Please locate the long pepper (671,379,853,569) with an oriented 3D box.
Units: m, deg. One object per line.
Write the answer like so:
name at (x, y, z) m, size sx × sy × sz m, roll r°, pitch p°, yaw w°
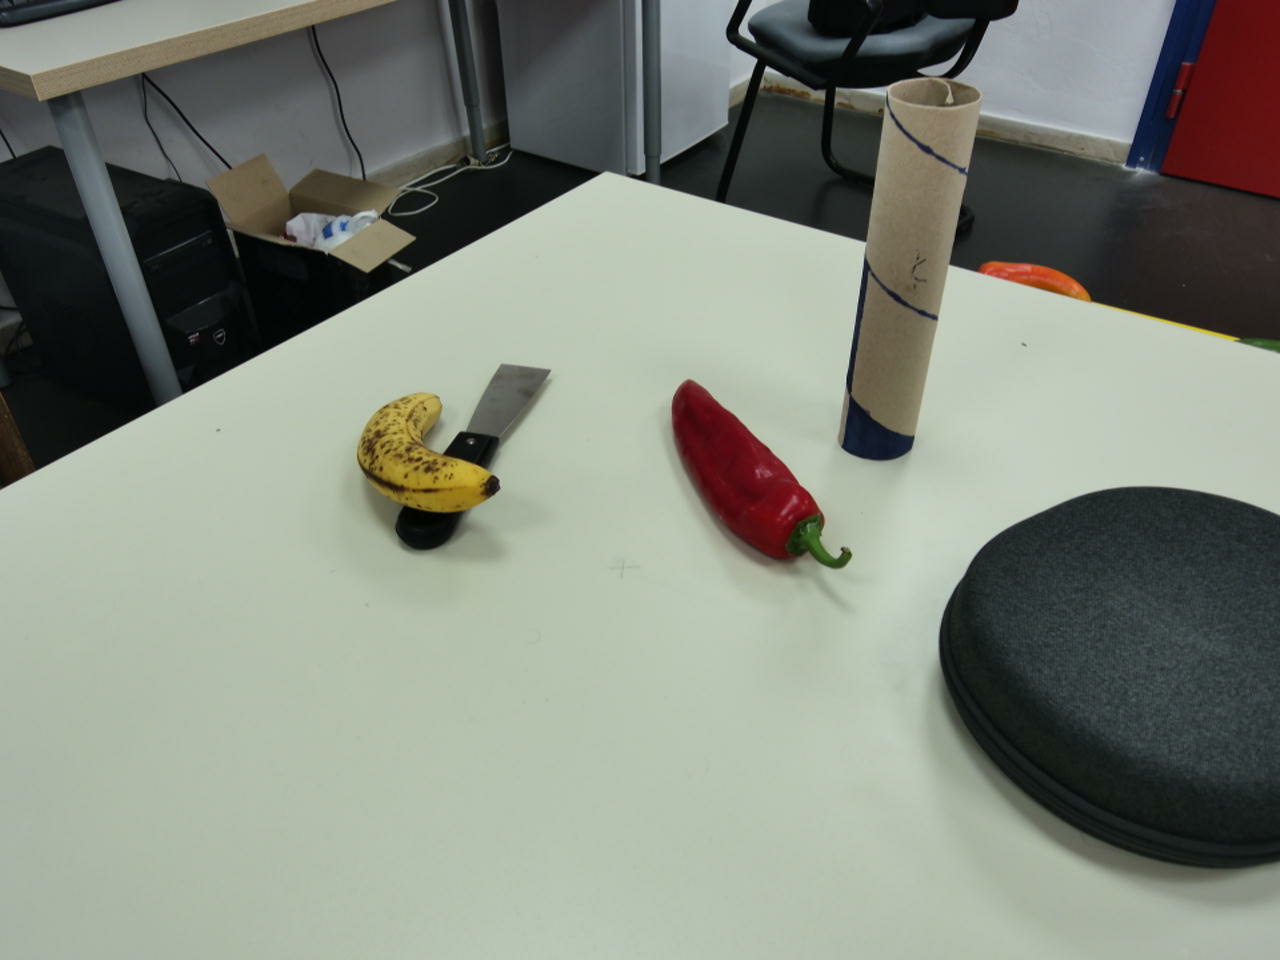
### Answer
long pepper at (0.061, -0.006, 0.601) m, size 0.050 × 0.043 × 0.211 m, roll -13°, pitch 39°, yaw -16°
